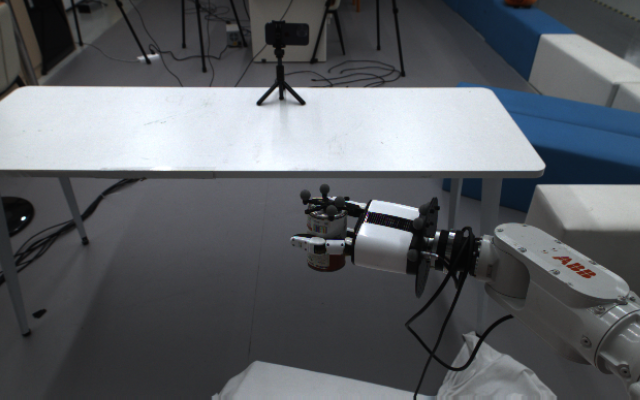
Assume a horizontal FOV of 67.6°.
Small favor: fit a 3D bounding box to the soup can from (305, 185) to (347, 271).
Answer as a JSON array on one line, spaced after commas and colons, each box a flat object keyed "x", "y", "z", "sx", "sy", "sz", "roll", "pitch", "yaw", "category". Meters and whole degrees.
[{"x": 0.012, "y": 0.060, "z": 0.800, "sx": 0.067, "sy": 0.101, "sz": 0.067, "roll": 1, "pitch": 25, "yaw": 0, "category": "soup can"}]
